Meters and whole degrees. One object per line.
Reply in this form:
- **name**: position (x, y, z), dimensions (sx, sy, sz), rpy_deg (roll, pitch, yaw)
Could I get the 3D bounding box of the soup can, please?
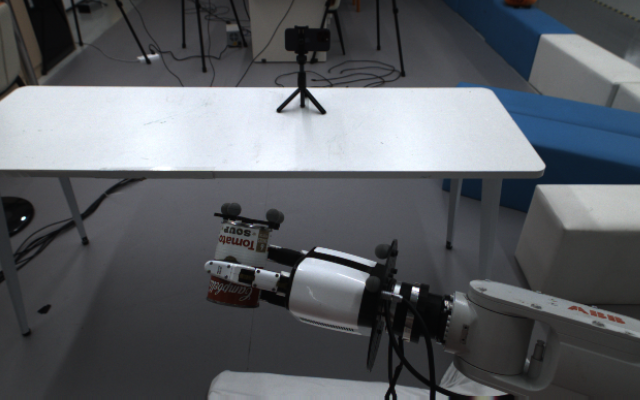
- **soup can**: position (-0.100, 0.081, 0.617), dimensions (0.067, 0.101, 0.067), rpy_deg (9, -5, 1)
